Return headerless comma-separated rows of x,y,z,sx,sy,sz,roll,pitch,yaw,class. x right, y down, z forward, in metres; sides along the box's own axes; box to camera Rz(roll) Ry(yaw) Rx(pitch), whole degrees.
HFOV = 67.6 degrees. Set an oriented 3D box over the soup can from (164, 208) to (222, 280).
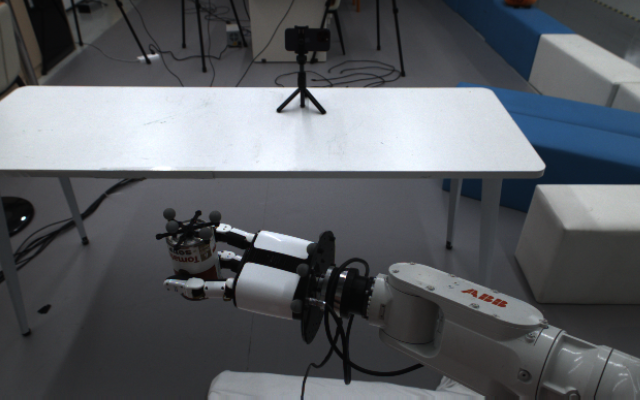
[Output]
-0.181,0.089,0.709,0.067,0.101,0.067,-2,33,1,soup can
